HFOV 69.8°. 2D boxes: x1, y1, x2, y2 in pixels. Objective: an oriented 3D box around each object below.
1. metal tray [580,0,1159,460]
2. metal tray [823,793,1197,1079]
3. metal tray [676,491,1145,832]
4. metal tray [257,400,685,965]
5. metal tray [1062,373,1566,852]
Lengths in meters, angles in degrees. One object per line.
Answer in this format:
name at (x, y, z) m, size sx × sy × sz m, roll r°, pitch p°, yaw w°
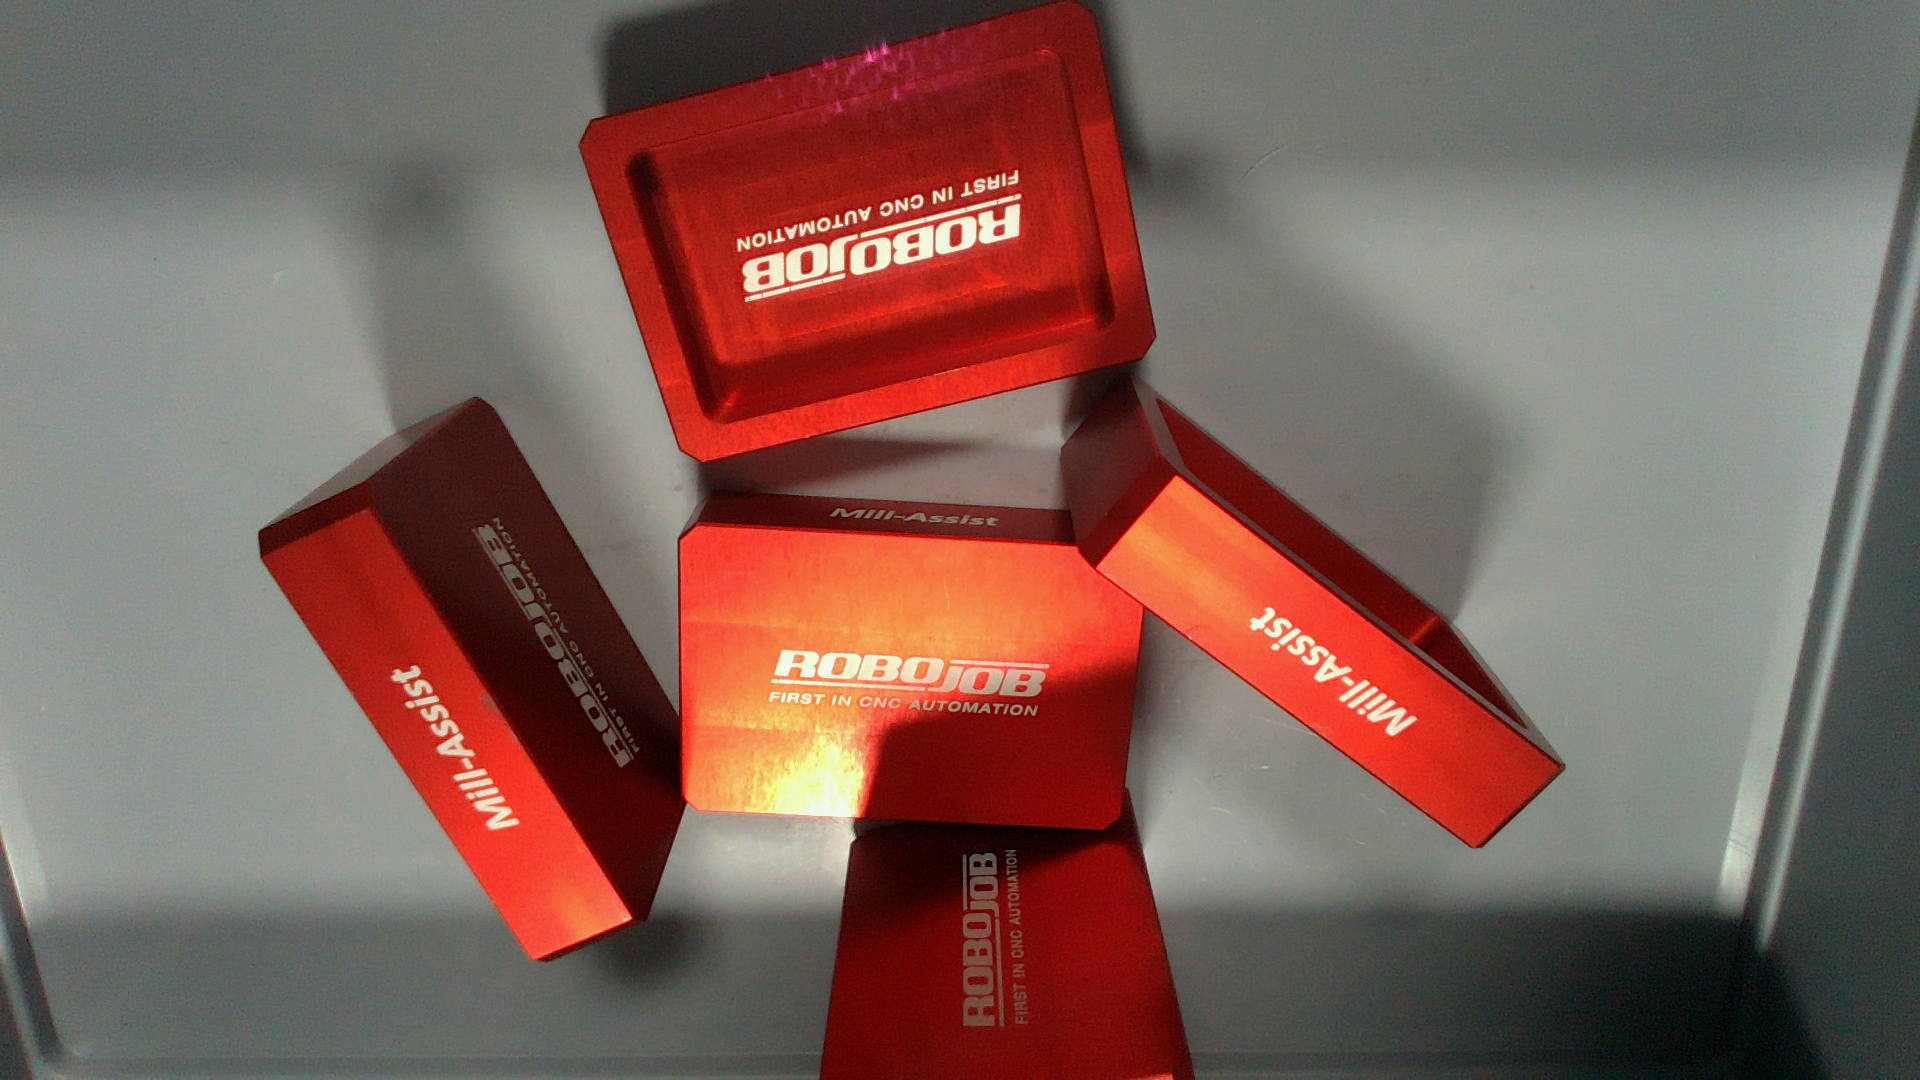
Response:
metal tray at (-0.021, -0.080, 0.360) m, size 0.130 × 0.030 × 0.090 m, roll -13°, pitch 110°, yaw 4°
metal tray at (0.013, 0.122, 0.380) m, size 0.090 × 0.130 × 0.030 m, roll -12°, pitch 110°, yaw 4°
metal tray at (-0.014, 0.036, 0.402) m, size 0.130 × 0.030 × 0.090 m, roll 3°, pitch 110°, yaw -1°
metal tray at (-0.121, 0.035, 0.370) m, size 0.030 × 0.090 × 0.130 m, roll -23°, pitch 109°, yaw 7°
metal tray at (0.089, 0.016, 0.363) m, size 0.130 × 0.090 × 0.030 m, roll 36°, pitch 107°, yaw -12°
